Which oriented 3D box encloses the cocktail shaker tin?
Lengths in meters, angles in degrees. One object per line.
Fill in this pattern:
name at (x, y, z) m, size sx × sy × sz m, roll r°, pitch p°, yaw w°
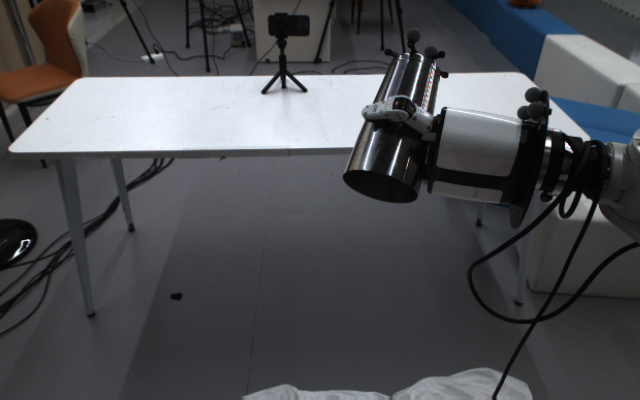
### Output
cocktail shaker tin at (0.098, -0.091, 0.597) m, size 0.093 × 0.093 × 0.170 m, roll 14°, pitch 73°, yaw 16°
